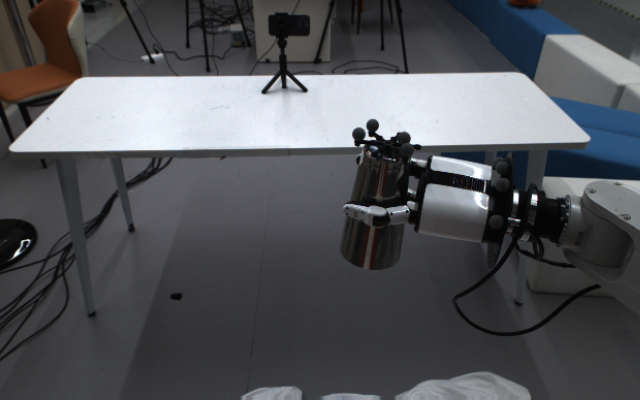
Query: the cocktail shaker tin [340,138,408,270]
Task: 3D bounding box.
[{"bbox_3d":[0.083,0.004,0.690,0.093,0.170,0.093,4,32,-2],"label":"cocktail shaker tin"}]
